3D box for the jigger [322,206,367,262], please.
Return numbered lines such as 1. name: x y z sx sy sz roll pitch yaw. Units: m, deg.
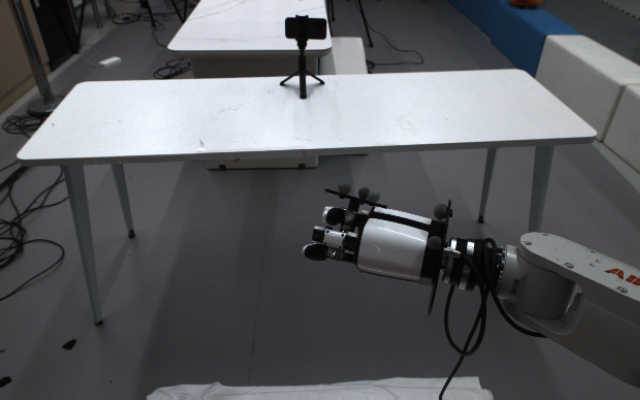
1. jigger: 0.037 0.047 0.674 0.043 0.071 0.043 17 2 -1
